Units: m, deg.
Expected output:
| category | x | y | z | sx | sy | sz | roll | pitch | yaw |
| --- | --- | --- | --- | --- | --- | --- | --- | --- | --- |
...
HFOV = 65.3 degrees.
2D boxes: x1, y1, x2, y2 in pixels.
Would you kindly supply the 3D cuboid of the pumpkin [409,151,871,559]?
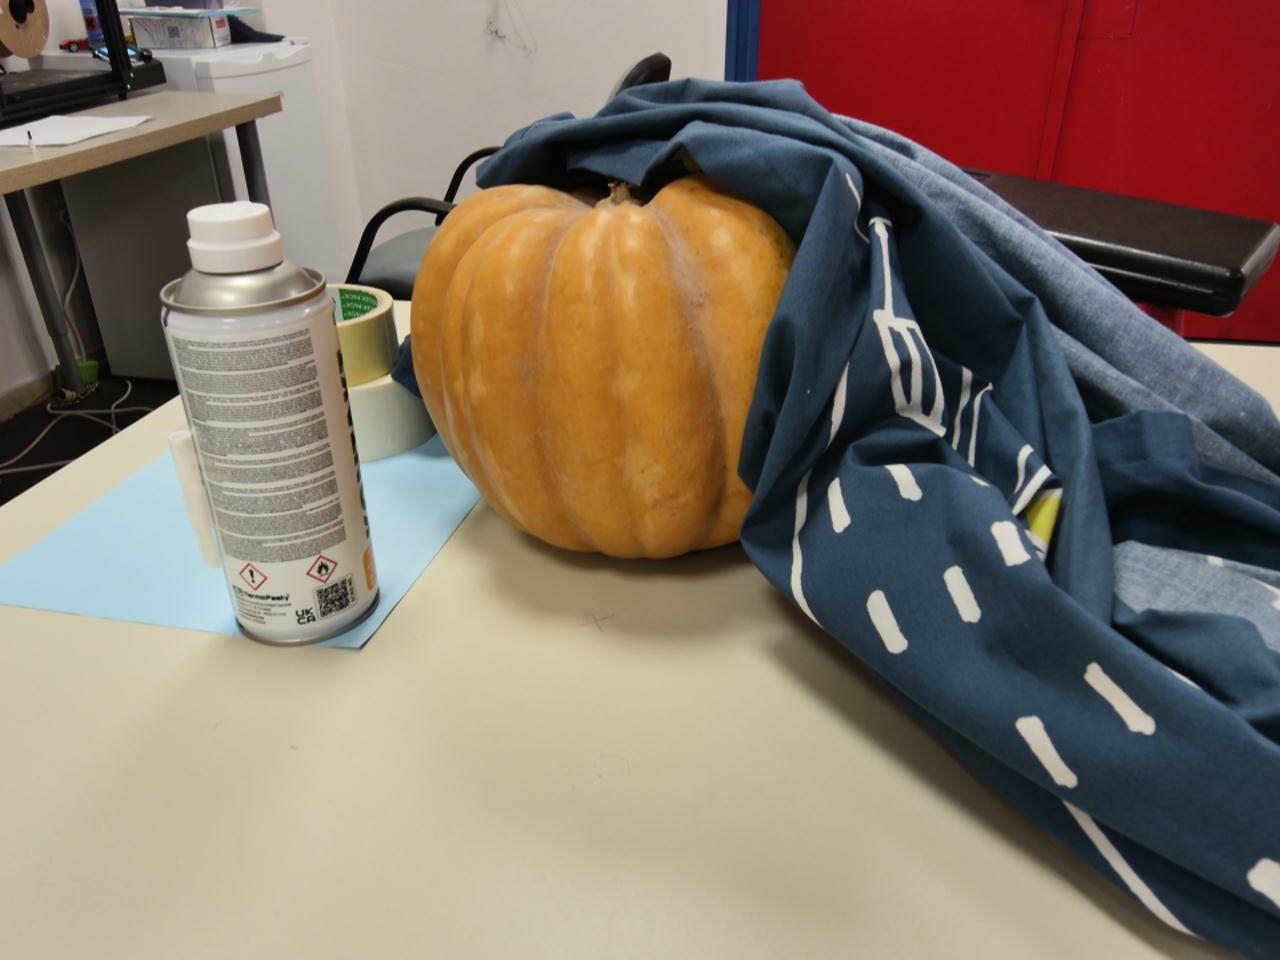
| category | x | y | z | sx | sy | sz | roll | pitch | yaw |
| --- | --- | --- | --- | --- | --- | --- | --- | --- | --- |
| pumpkin | 0.003 | -0.064 | 0.509 | 0.230 | 0.194 | 0.230 | 0 | 26 | 0 |
